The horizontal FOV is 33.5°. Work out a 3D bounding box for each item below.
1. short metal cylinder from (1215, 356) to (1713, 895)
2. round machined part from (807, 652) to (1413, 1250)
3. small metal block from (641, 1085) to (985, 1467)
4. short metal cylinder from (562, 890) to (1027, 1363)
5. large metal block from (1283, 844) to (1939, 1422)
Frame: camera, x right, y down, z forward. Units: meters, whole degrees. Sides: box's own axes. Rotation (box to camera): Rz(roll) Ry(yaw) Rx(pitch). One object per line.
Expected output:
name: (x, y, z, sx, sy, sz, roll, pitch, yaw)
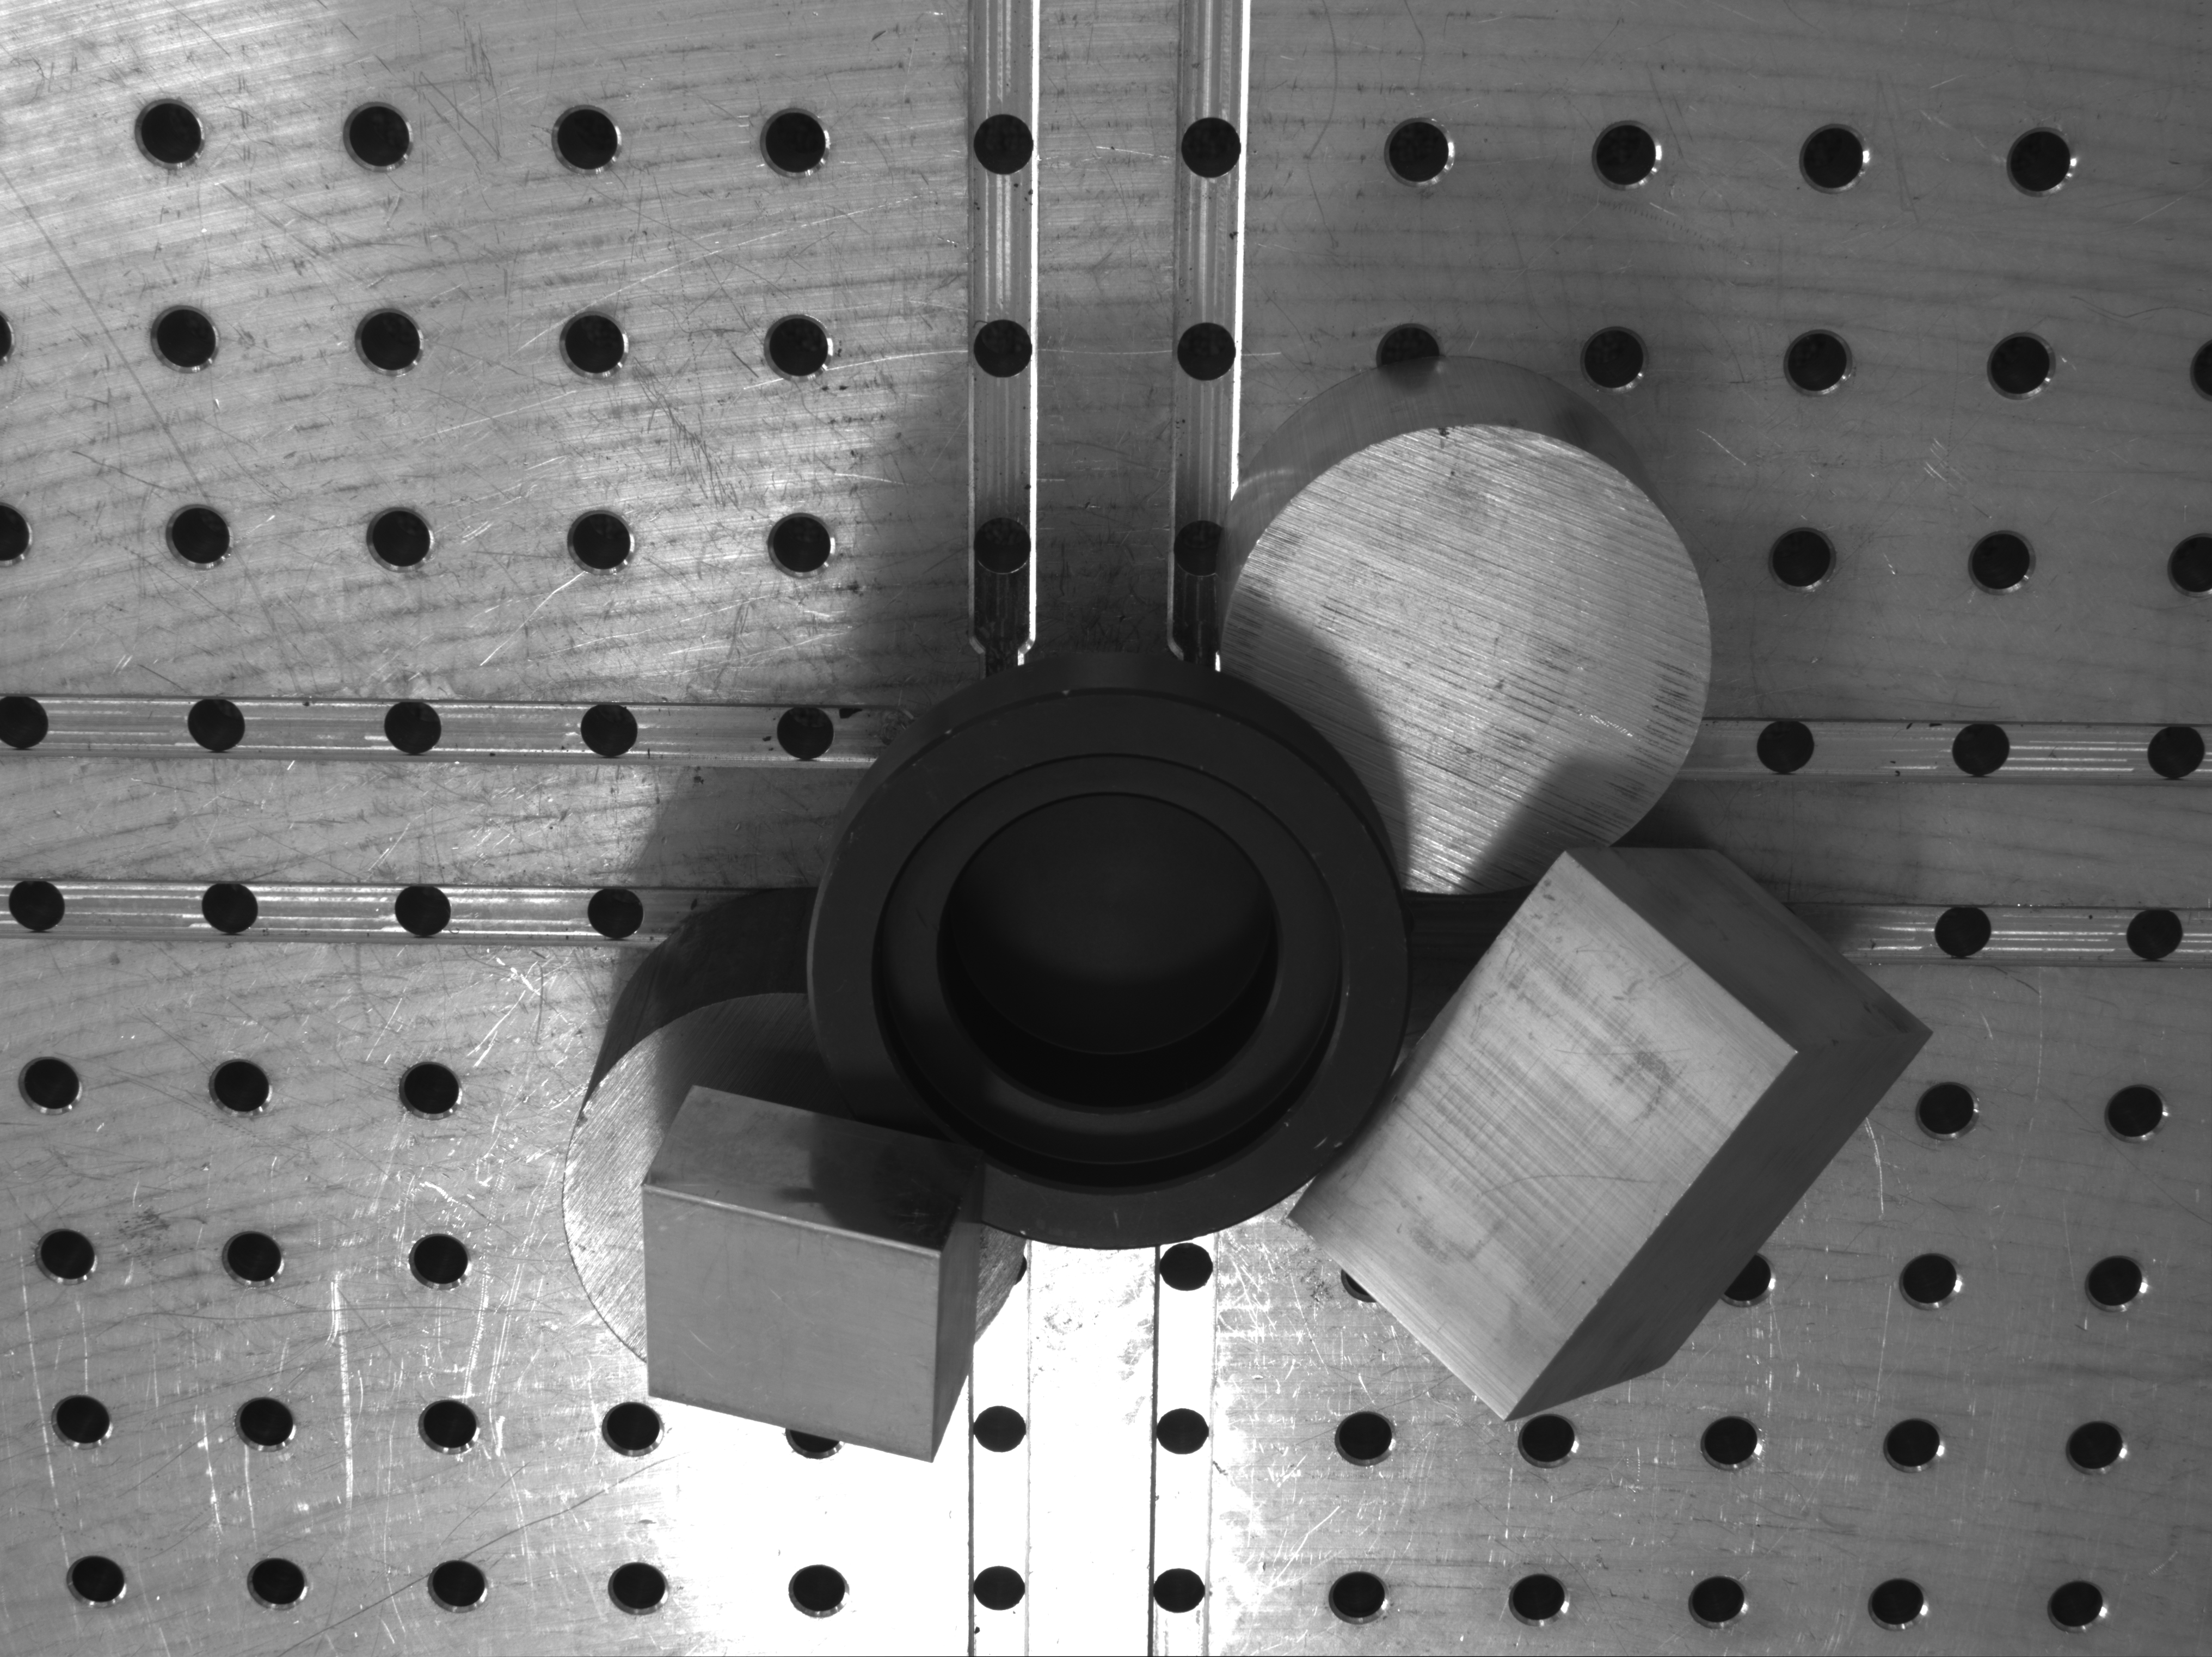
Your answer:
short metal cylinder: (0.059, -0.035, 0.621, 0.080, 0.050, 0.080, 0, 110, 0)
round machined part: (0.001, 0.017, 0.613, 0.098, 0.042, 0.098, 0, 110, 0)
small metal block: (-0.048, 0.074, 0.607, 0.050, 0.025, 0.050, 12, 129, 9)
short metal cylinder: (-0.053, 0.057, 0.654, 0.080, 0.050, 0.080, 0, 110, 0)
large metal block: (0.088, 0.050, 0.629, 0.050, 0.080, 0.080, 42, 108, 22)
